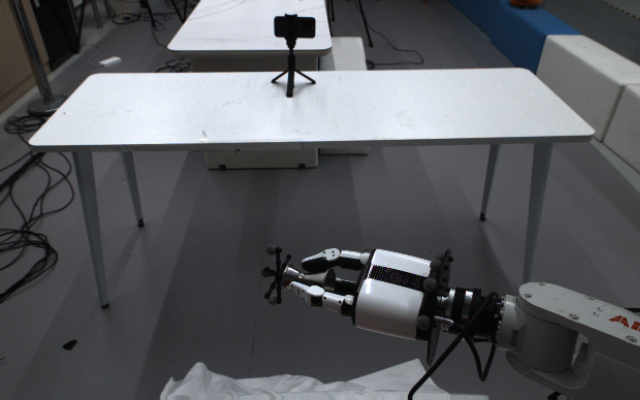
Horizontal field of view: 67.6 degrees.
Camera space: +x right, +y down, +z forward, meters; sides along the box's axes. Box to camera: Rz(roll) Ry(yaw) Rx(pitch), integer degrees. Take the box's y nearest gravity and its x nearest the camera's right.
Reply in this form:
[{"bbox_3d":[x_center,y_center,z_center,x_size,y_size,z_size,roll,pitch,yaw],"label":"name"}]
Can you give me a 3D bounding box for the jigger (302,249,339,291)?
[{"bbox_3d":[-0.010,0.116,0.716,0.071,0.043,0.043,4,33,23],"label":"jigger"}]
